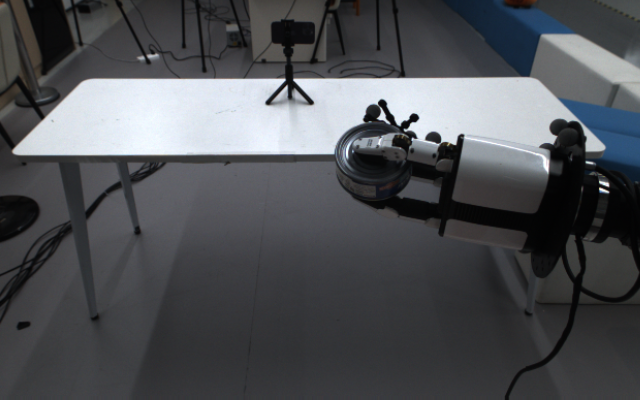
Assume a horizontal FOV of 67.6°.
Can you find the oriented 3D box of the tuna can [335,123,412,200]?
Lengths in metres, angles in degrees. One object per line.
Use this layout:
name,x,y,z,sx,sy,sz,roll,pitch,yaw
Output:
tuna can,0.063,-0.038,0.529,0.085,0.034,0.085,-4,58,6
